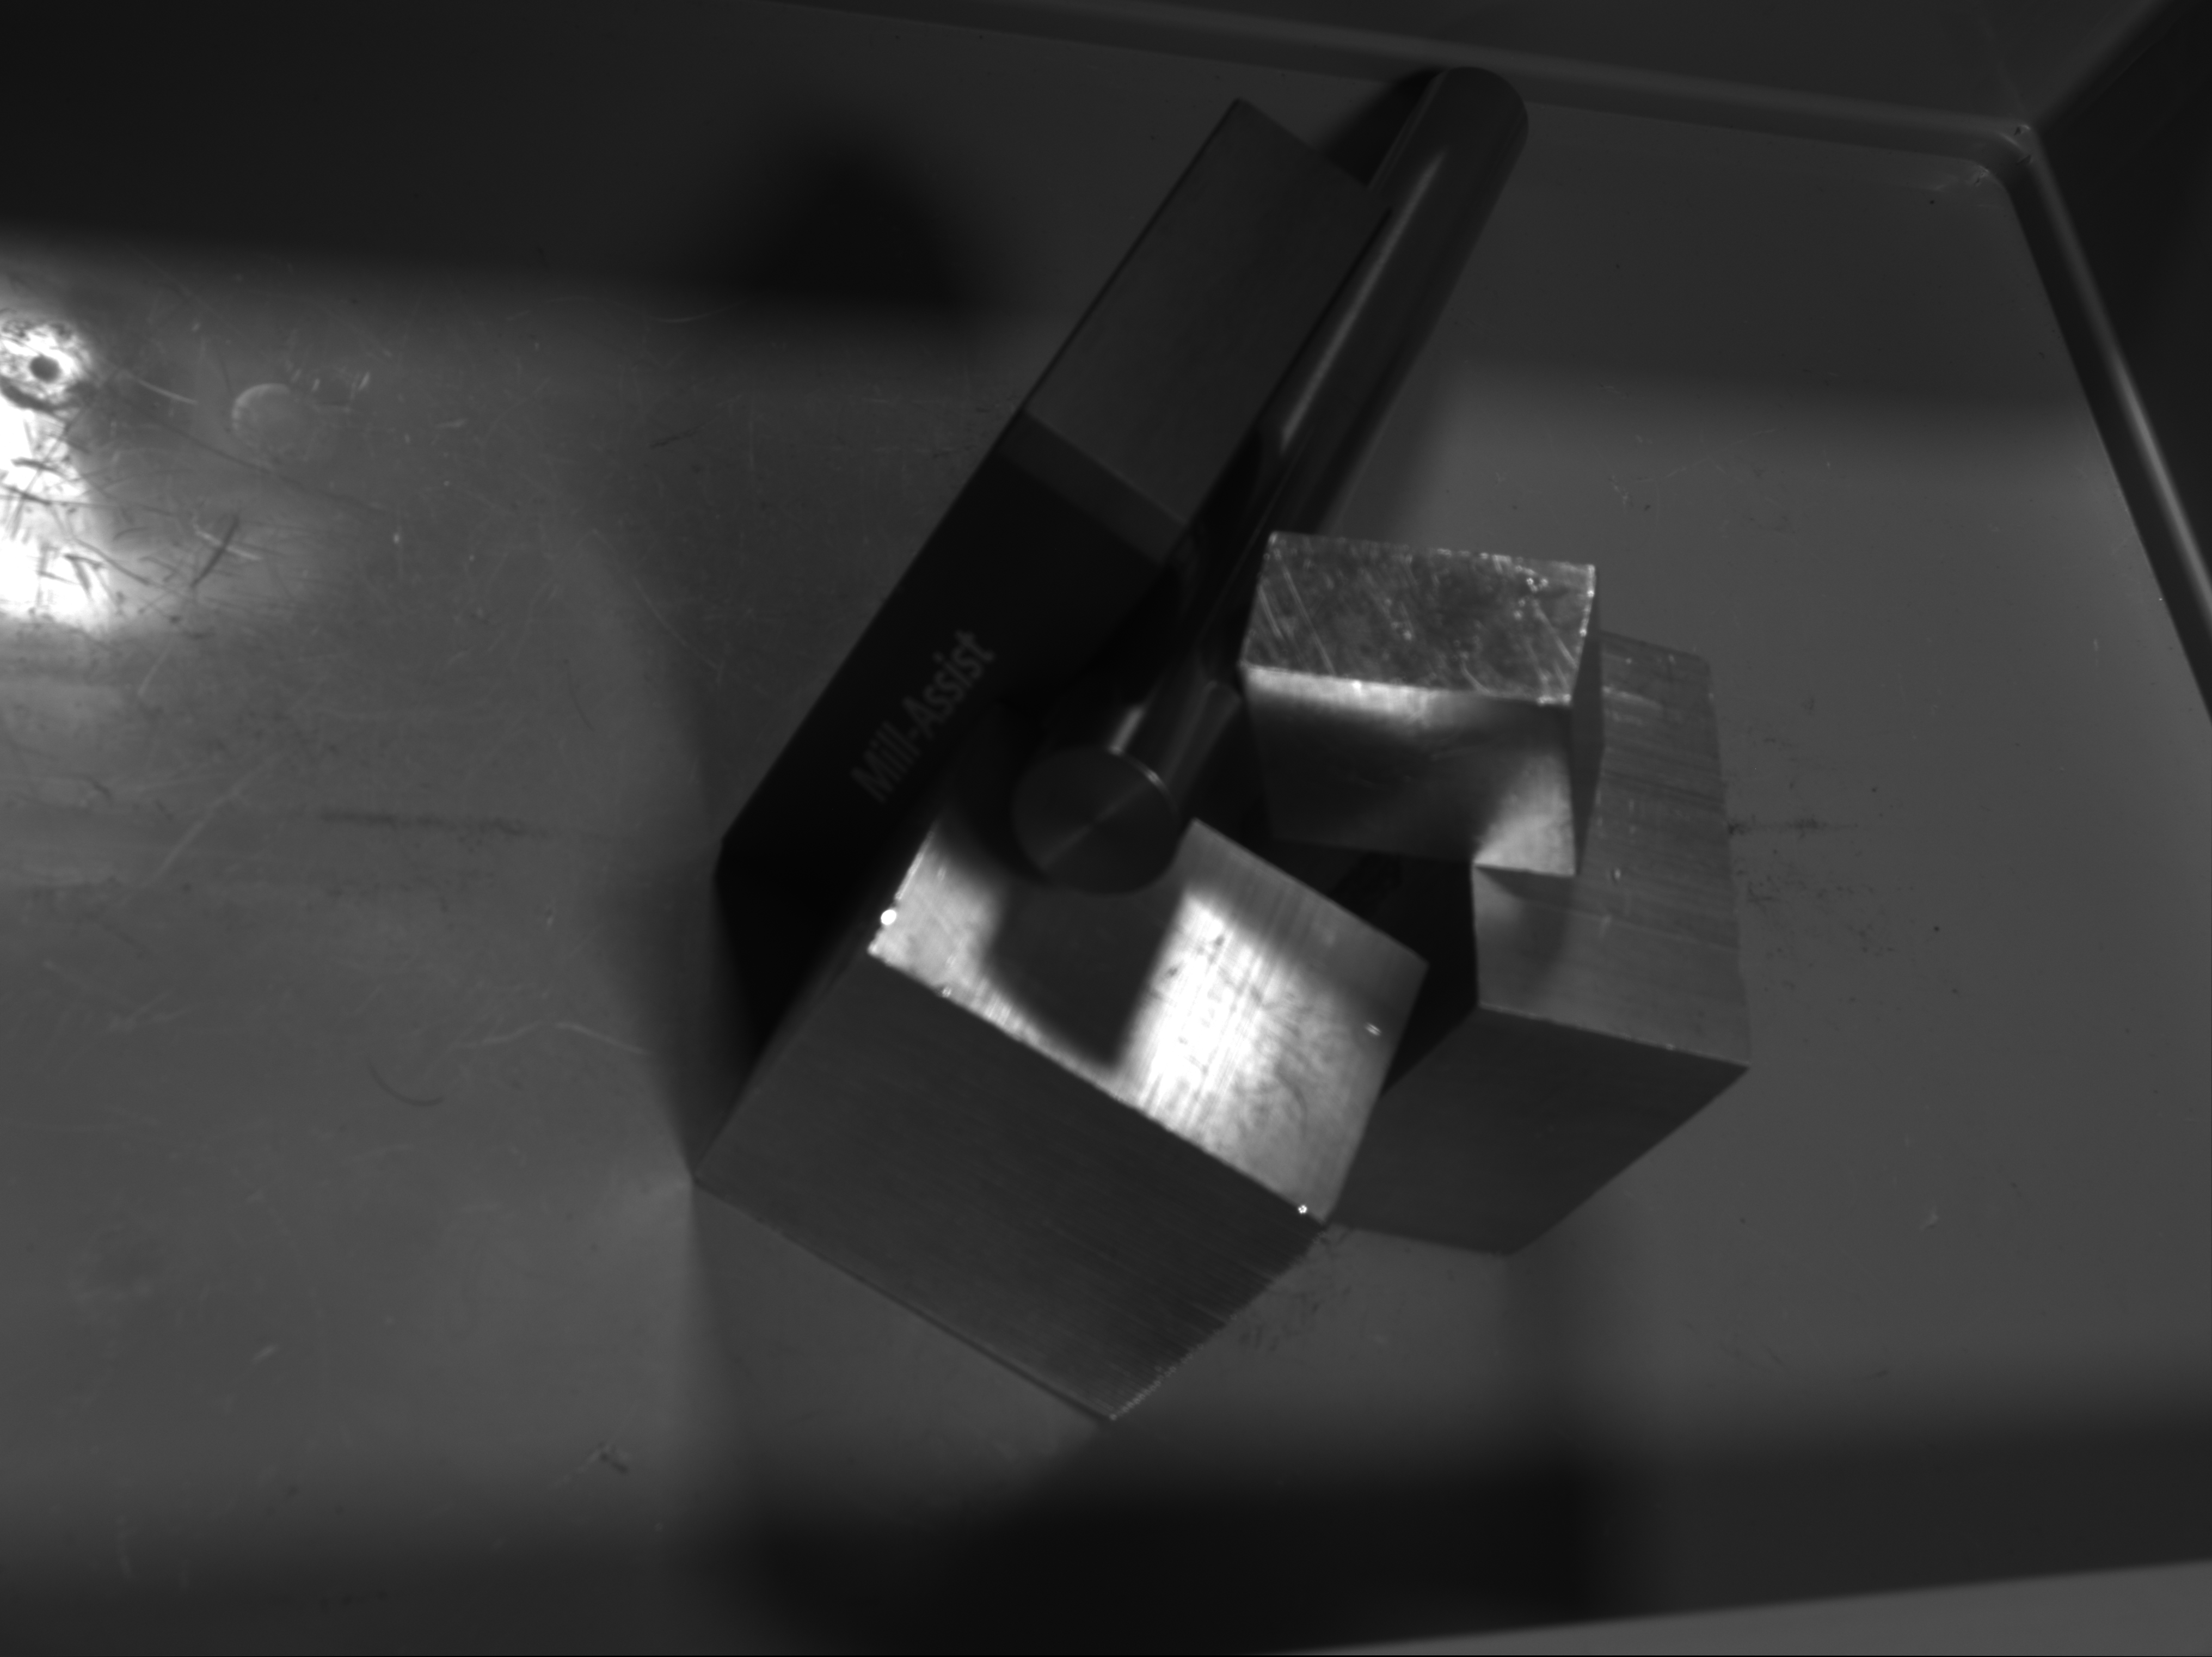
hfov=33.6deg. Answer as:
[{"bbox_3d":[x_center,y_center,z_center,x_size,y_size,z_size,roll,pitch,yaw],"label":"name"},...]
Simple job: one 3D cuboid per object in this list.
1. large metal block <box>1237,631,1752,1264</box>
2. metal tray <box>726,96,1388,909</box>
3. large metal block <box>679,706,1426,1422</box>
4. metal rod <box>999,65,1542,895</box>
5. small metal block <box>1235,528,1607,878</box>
[{"bbox_3d":[0.064,0.019,0.627,0.050,0.080,0.080,13,56,-21],"label":"large metal block"},{"bbox_3d":[-0.010,-0.048,0.594,0.030,0.130,0.090,34,52,-4],"label":"metal tray"},{"bbox_3d":[-0.009,0.039,0.576,0.080,0.080,0.050,32,51,-7],"label":"large metal block"},{"bbox_3d":[0.038,-0.075,0.647,0.025,0.025,0.300,36,34,-4],"label":"metal rod"},{"bbox_3d":[0.050,-0.019,0.565,0.050,0.050,0.025,8,61,14],"label":"small metal block"}]
